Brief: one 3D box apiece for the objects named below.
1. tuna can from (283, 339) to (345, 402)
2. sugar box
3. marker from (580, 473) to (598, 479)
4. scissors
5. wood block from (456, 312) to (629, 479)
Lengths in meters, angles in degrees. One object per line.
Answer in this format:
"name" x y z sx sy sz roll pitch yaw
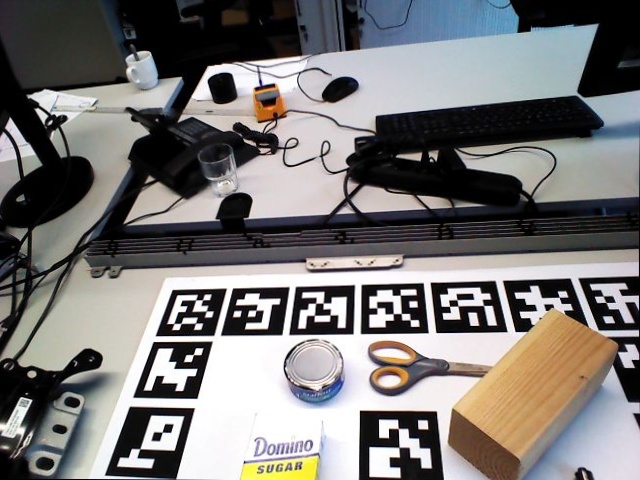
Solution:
"tuna can" -0.008 0.186 0.738 0.086 0.034 0.085 -7 44 7
"sugar box" -0.052 0.303 0.623 0.093 0.045 0.175 1 45 14
"marker" 0.296 0.309 0.545 0.020 0.020 0.120 -2 46 12
"scissors" 0.165 0.181 0.718 0.204 0.016 0.087 1 45 18
"wood block" 0.268 0.196 0.627 0.205 0.091 0.090 -34 46 -23
